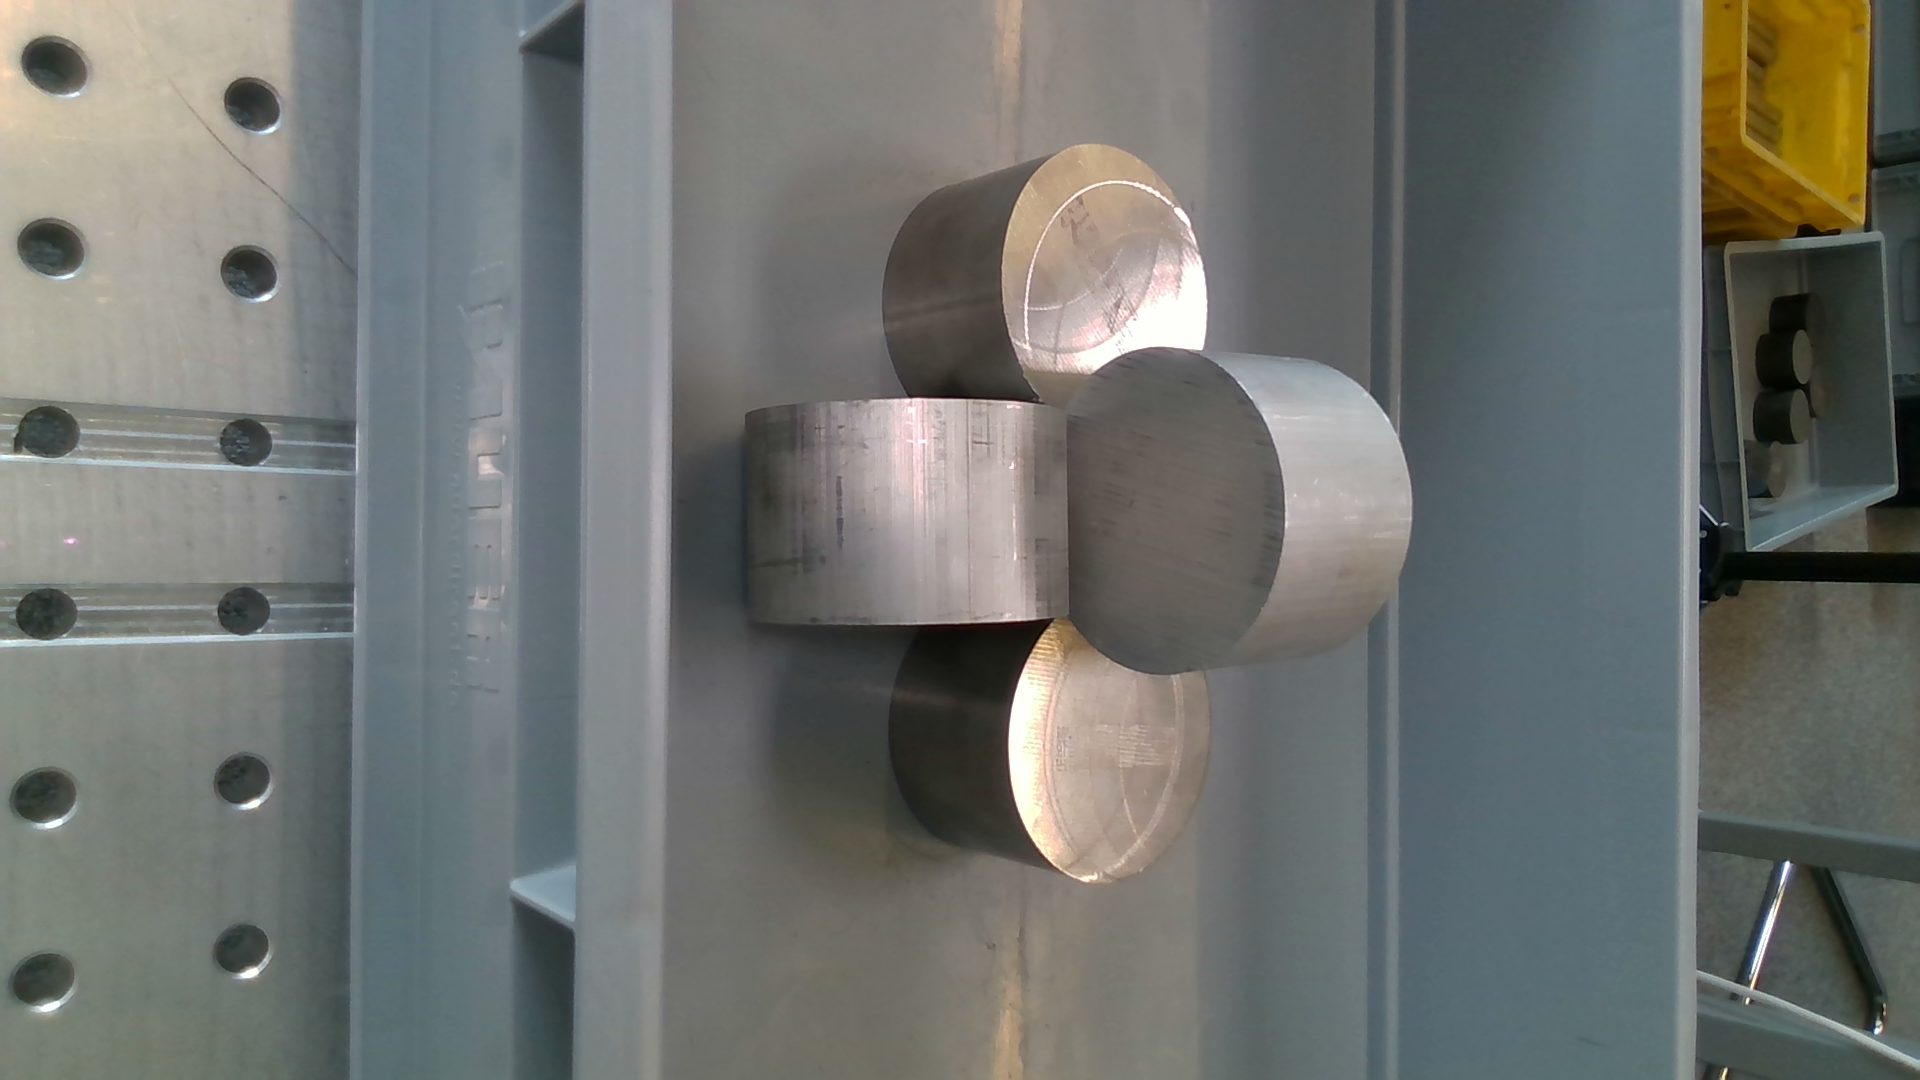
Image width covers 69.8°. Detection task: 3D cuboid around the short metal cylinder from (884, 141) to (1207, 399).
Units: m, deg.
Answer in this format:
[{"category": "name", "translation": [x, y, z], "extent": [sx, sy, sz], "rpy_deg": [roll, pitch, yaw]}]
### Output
[{"category": "short metal cylinder", "translation": [0.025, -0.068, 0.394], "extent": [0.080, 0.050, 0.080], "rpy_deg": [0, 90, -40]}]

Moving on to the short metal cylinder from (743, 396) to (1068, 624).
[{"category": "short metal cylinder", "translation": [-0.013, -0.008, 0.343], "extent": [0.080, 0.080, 0.050], "rpy_deg": [-3, 92, -40]}]

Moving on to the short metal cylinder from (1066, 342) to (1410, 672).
[{"category": "short metal cylinder", "translation": [0.065, -0.008, 0.351], "extent": [0.050, 0.080, 0.080], "rpy_deg": [-2, 91, -40]}]

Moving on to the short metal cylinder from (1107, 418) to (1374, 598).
[{"category": "short metal cylinder", "translation": [0.086, -0.010, 0.426], "extent": [0.080, 0.080, 0.050], "rpy_deg": [-3, 92, -40]}]

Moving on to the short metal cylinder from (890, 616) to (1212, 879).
[{"category": "short metal cylinder", "translation": [0.027, 0.052, 0.395], "extent": [0.080, 0.050, 0.080], "rpy_deg": [0, 90, -40]}]
